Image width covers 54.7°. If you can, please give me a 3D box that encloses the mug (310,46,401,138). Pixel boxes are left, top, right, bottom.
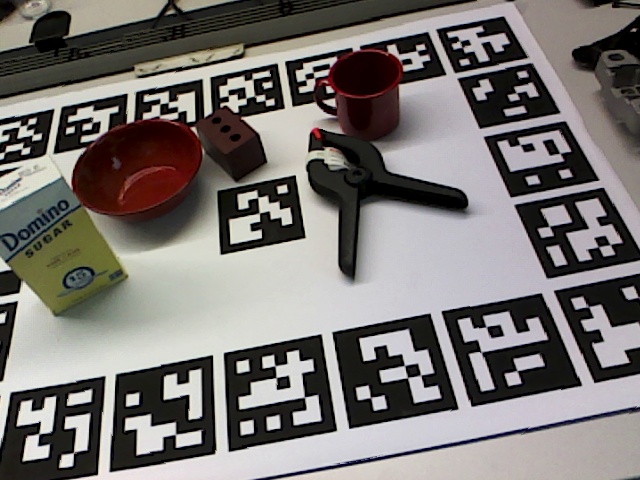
[{"bbox_3d":[0.044,-0.189,0.797,0.117,0.081,0.093,11,57,13],"label":"mug"}]

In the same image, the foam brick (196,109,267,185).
[{"bbox_3d":[-0.115,-0.120,0.803,0.052,0.051,0.078,-35,57,-14],"label":"foam brick"}]

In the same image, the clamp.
[{"bbox_3d":[0.035,-0.070,0.736,0.165,0.036,0.204,-32,57,-11],"label":"clamp"}]

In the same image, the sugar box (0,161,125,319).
[{"bbox_3d":[-0.284,0.007,0.657,0.092,0.176,0.045,-32,58,-15],"label":"sugar box"}]

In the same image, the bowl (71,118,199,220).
[{"bbox_3d":[-0.226,-0.079,0.783,0.162,0.055,0.162,-4,54,5],"label":"bowl"}]
